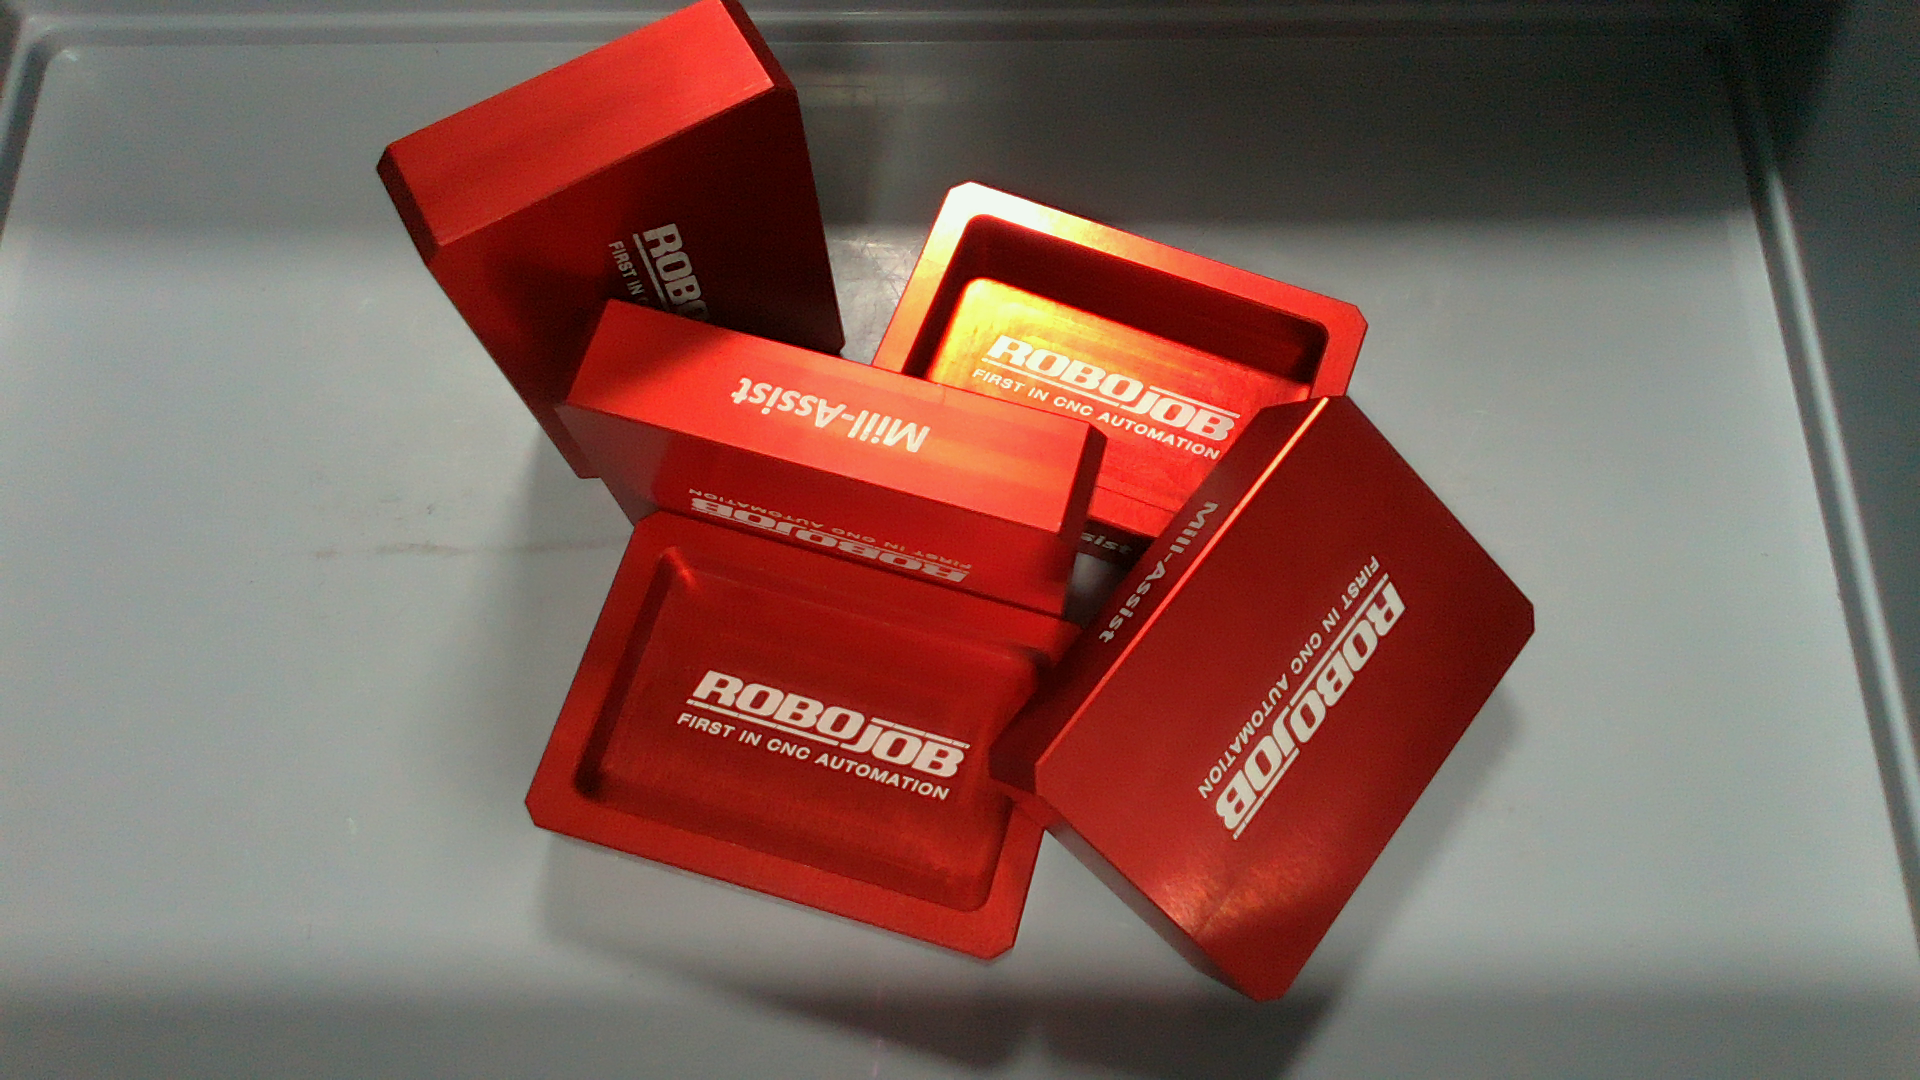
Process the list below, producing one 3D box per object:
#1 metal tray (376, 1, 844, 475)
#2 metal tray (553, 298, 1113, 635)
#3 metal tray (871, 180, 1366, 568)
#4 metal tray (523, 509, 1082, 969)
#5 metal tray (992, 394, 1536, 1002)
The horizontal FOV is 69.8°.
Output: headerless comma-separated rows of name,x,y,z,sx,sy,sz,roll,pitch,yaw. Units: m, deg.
metal tray,-0.082,-0.072,0.363,0.090,0.130,0.030,-29,73,-9
metal tray,-0.030,-0.015,0.363,0.130,0.090,0.030,15,71,5
metal tray,0.043,-0.044,0.407,0.130,0.030,0.090,20,71,7
metal tray,-0.038,0.052,0.370,0.130,0.030,0.090,15,71,5
metal tray,0.081,0.038,0.356,0.090,0.030,0.130,44,74,-15
